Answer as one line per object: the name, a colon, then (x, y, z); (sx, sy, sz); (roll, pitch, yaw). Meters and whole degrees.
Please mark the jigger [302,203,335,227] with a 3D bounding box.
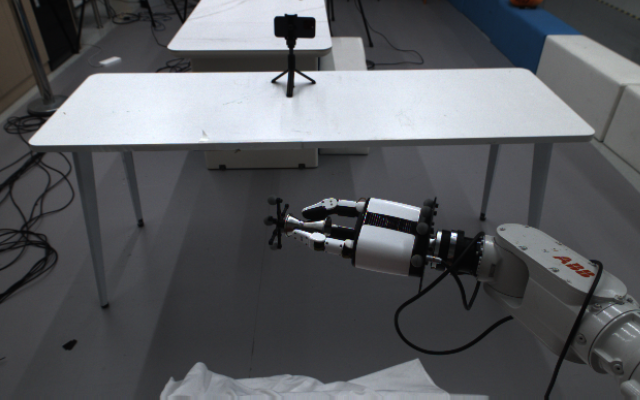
jigger: (-0.013, 0.042, 0.790); (0.071, 0.043, 0.043); (5, 34, 17)
